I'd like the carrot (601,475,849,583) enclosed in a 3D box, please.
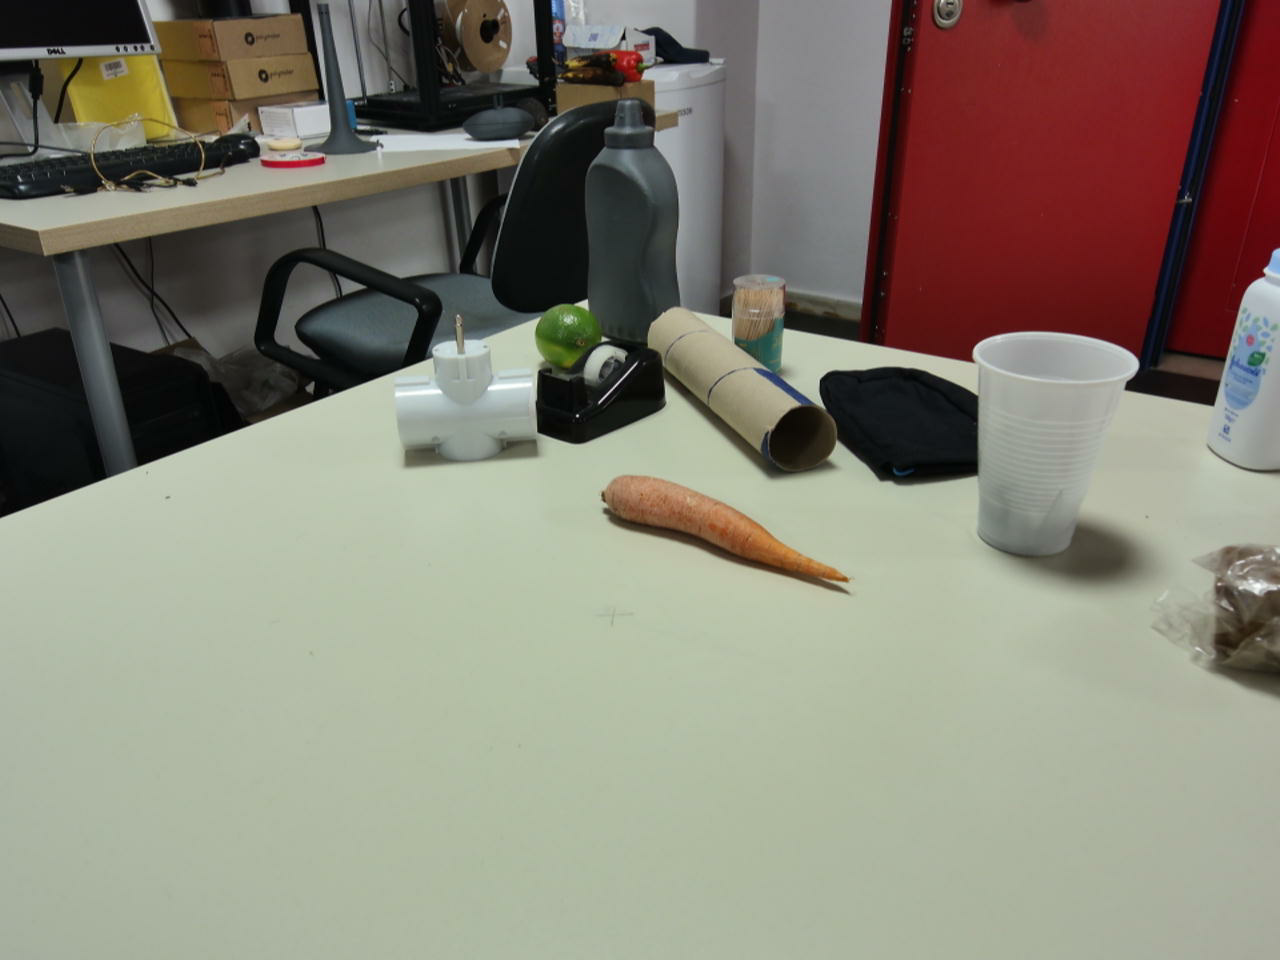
[{"bbox_3d":[0.044,0.024,0.557,0.163,0.029,0.031,17,30,33],"label":"carrot"}]
